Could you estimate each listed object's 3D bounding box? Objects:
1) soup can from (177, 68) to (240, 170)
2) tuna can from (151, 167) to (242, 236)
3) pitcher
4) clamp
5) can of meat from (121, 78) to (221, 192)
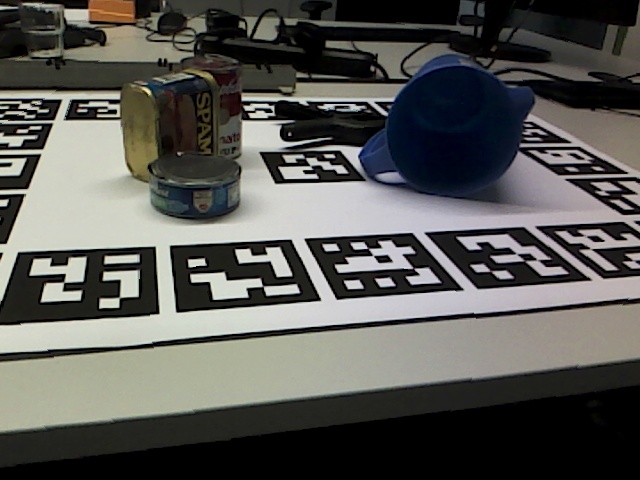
[{"bbox_3d":[-0.127,-0.139,0.715,0.068,0.102,0.068,2,31,-2],"label":"soup can"},{"bbox_3d":[-0.119,-0.038,0.597,0.086,0.033,0.086,4,30,-3],"label":"tuna can"},{"bbox_3d":[0.147,-0.146,0.729,0.189,0.133,0.242,-13,18,13],"label":"pitcher"},{"bbox_3d":[0.006,-0.140,0.823,0.164,0.036,0.122,1,24,-15],"label":"clamp"},{"bbox_3d":[-0.154,-0.108,0.643,0.058,0.101,0.083,26,38,31],"label":"can of meat"}]
